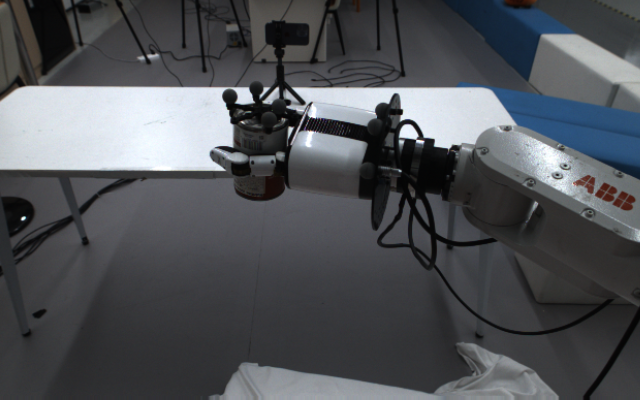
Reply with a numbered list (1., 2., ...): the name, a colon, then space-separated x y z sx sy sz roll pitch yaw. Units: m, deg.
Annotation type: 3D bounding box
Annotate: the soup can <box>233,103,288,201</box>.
1. soup can: -0.073 -0.058 0.598 0.067 0.101 0.067 5 37 -4
